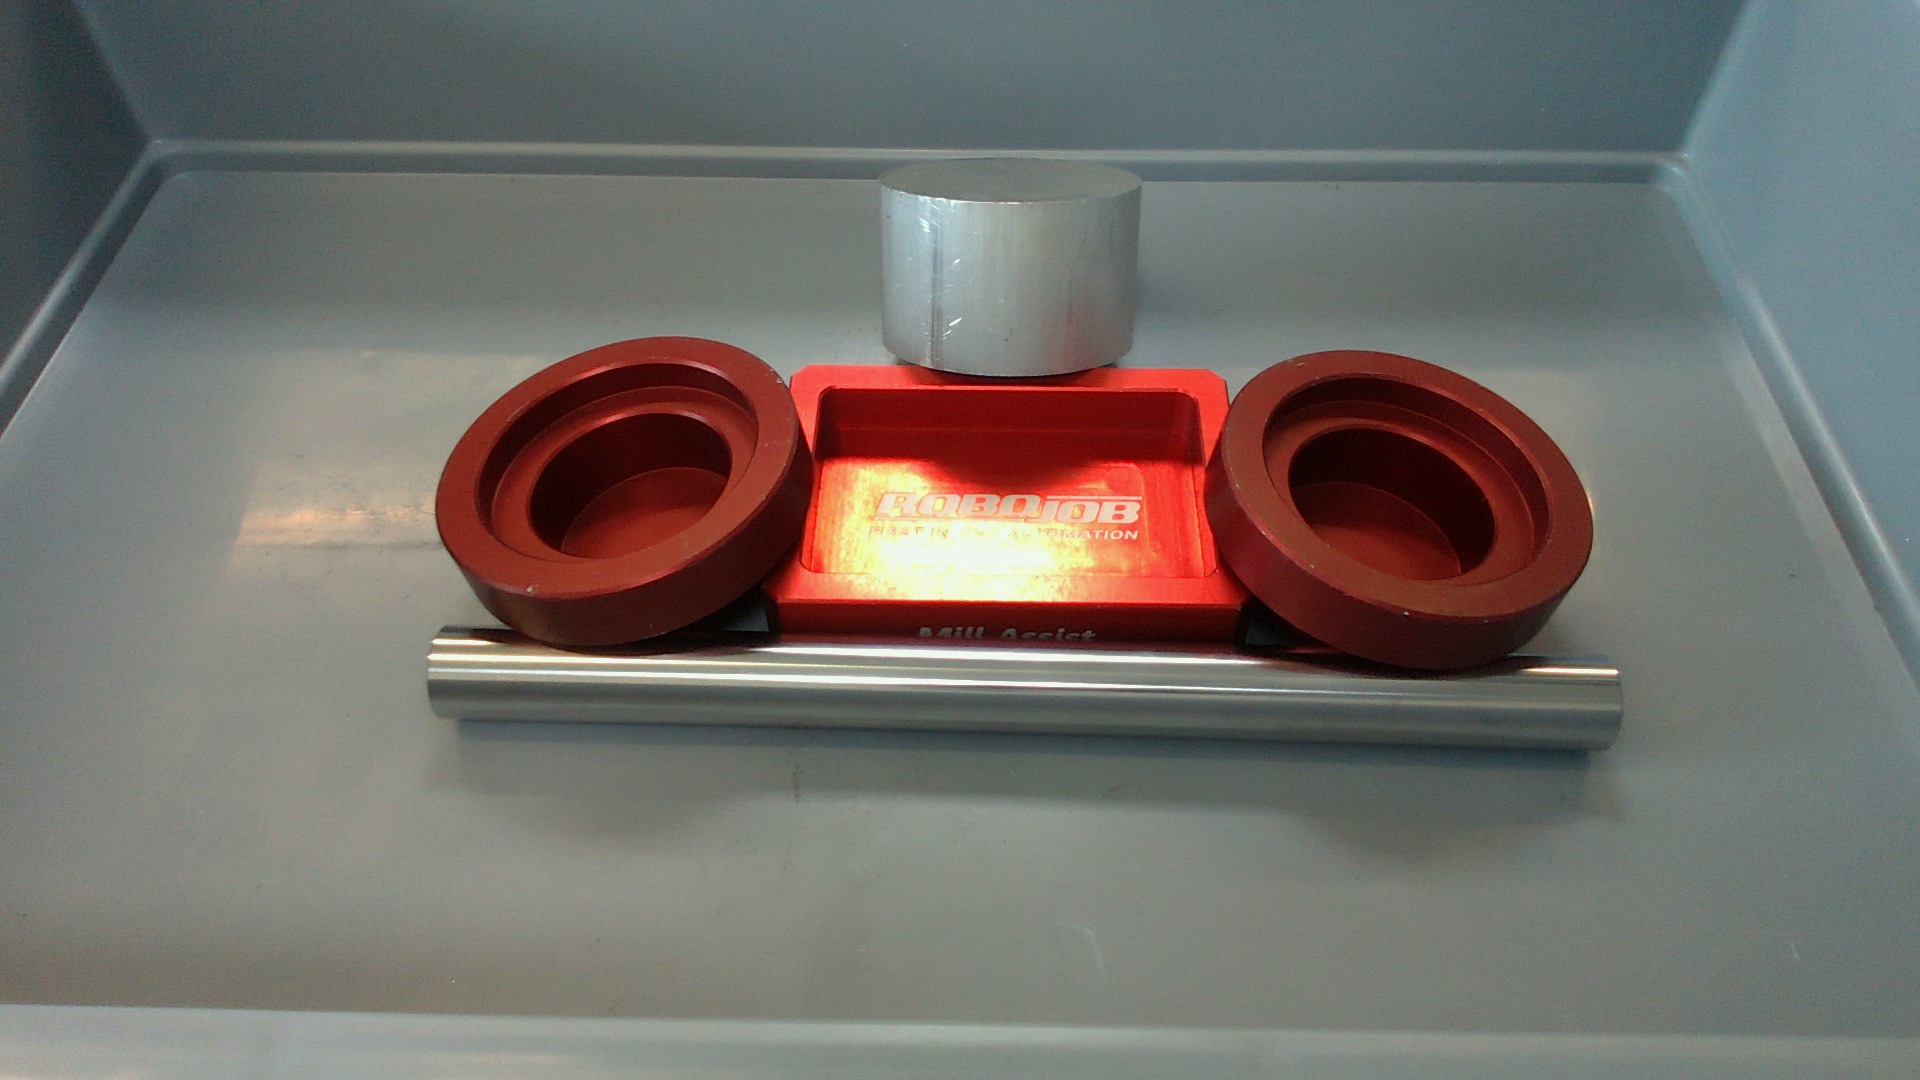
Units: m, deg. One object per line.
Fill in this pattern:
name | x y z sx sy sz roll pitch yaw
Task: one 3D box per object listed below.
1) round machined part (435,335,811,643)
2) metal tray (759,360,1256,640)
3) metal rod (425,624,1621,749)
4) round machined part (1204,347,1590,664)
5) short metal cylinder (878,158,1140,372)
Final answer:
round machined part | -0.089 -0.009 0.380 0.098 0.042 0.098 -6 47 6
metal tray | 0.013 -0.009 0.394 0.130 0.030 0.090 1 50 0
metal rod | 0.015 0.038 0.358 0.300 0.025 0.025 1 50 1
round machined part | 0.115 -0.005 0.377 0.098 0.042 0.098 5 48 -5
short metal cylinder | 0.015 -0.088 0.428 0.080 0.050 0.080 0 23 0
